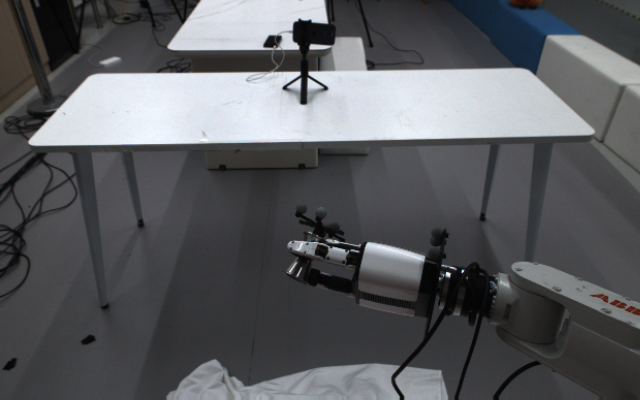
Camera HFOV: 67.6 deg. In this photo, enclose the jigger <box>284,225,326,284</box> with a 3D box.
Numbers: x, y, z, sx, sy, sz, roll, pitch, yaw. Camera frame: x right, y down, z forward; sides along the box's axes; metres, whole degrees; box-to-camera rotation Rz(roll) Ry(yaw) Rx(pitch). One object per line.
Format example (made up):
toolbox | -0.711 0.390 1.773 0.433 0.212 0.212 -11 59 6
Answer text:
jigger | -0.023 0.082 0.707 0.043 0.043 0.071 20 73 24
